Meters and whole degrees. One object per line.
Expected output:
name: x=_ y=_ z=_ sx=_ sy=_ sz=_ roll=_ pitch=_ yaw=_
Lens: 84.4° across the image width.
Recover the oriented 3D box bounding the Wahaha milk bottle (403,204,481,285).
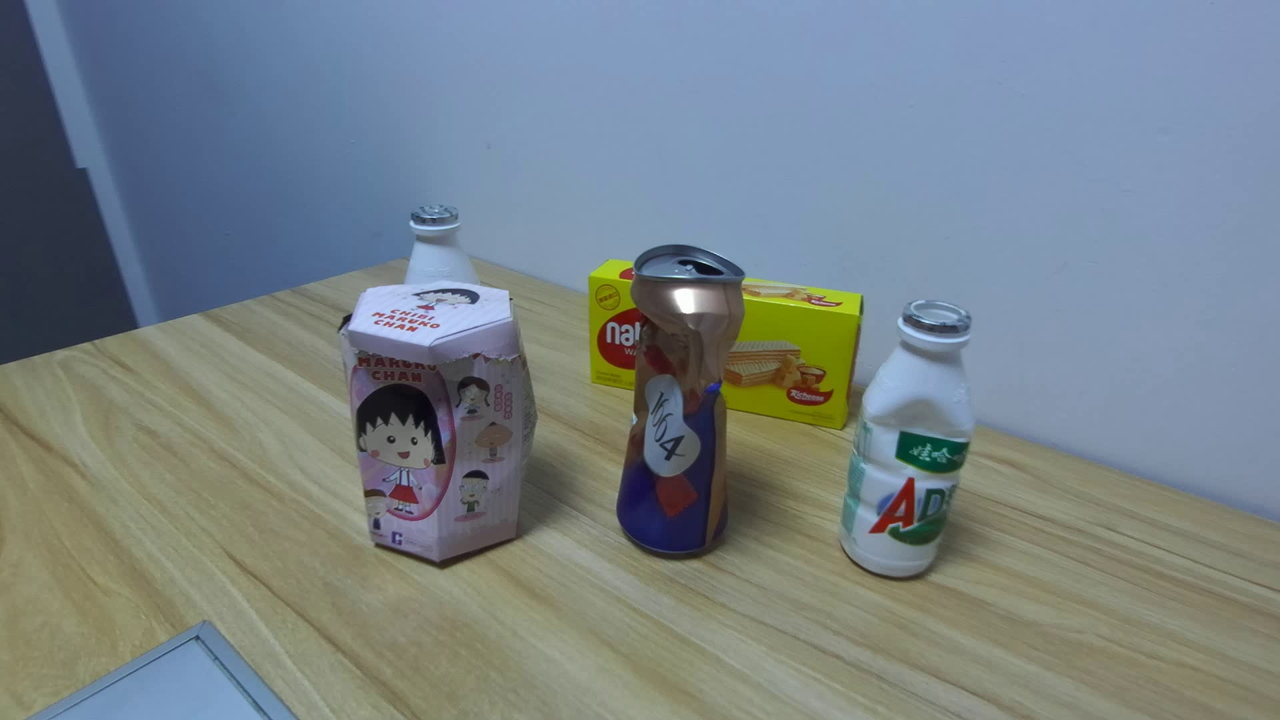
Wahaha milk bottle: x=-0.138 y=-0.033 z=0.503 sx=0.053 sy=0.147 sz=0.053 roll=-2 pitch=18 yaw=1

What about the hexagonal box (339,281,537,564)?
hexagonal box: x=-0.111 y=0.032 z=0.395 sx=0.090 sy=0.134 sz=0.090 roll=-10 pitch=28 yaw=-28

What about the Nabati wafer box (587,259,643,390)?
Nabati wafer box: x=0.061 y=-0.014 z=0.539 sx=0.202 sy=0.093 sz=0.042 roll=10 pitch=27 yaw=16

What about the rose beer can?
rose beer can: x=0.020 y=0.025 z=0.382 sx=0.073 sy=0.162 sz=0.068 roll=22 pitch=32 yaw=33
